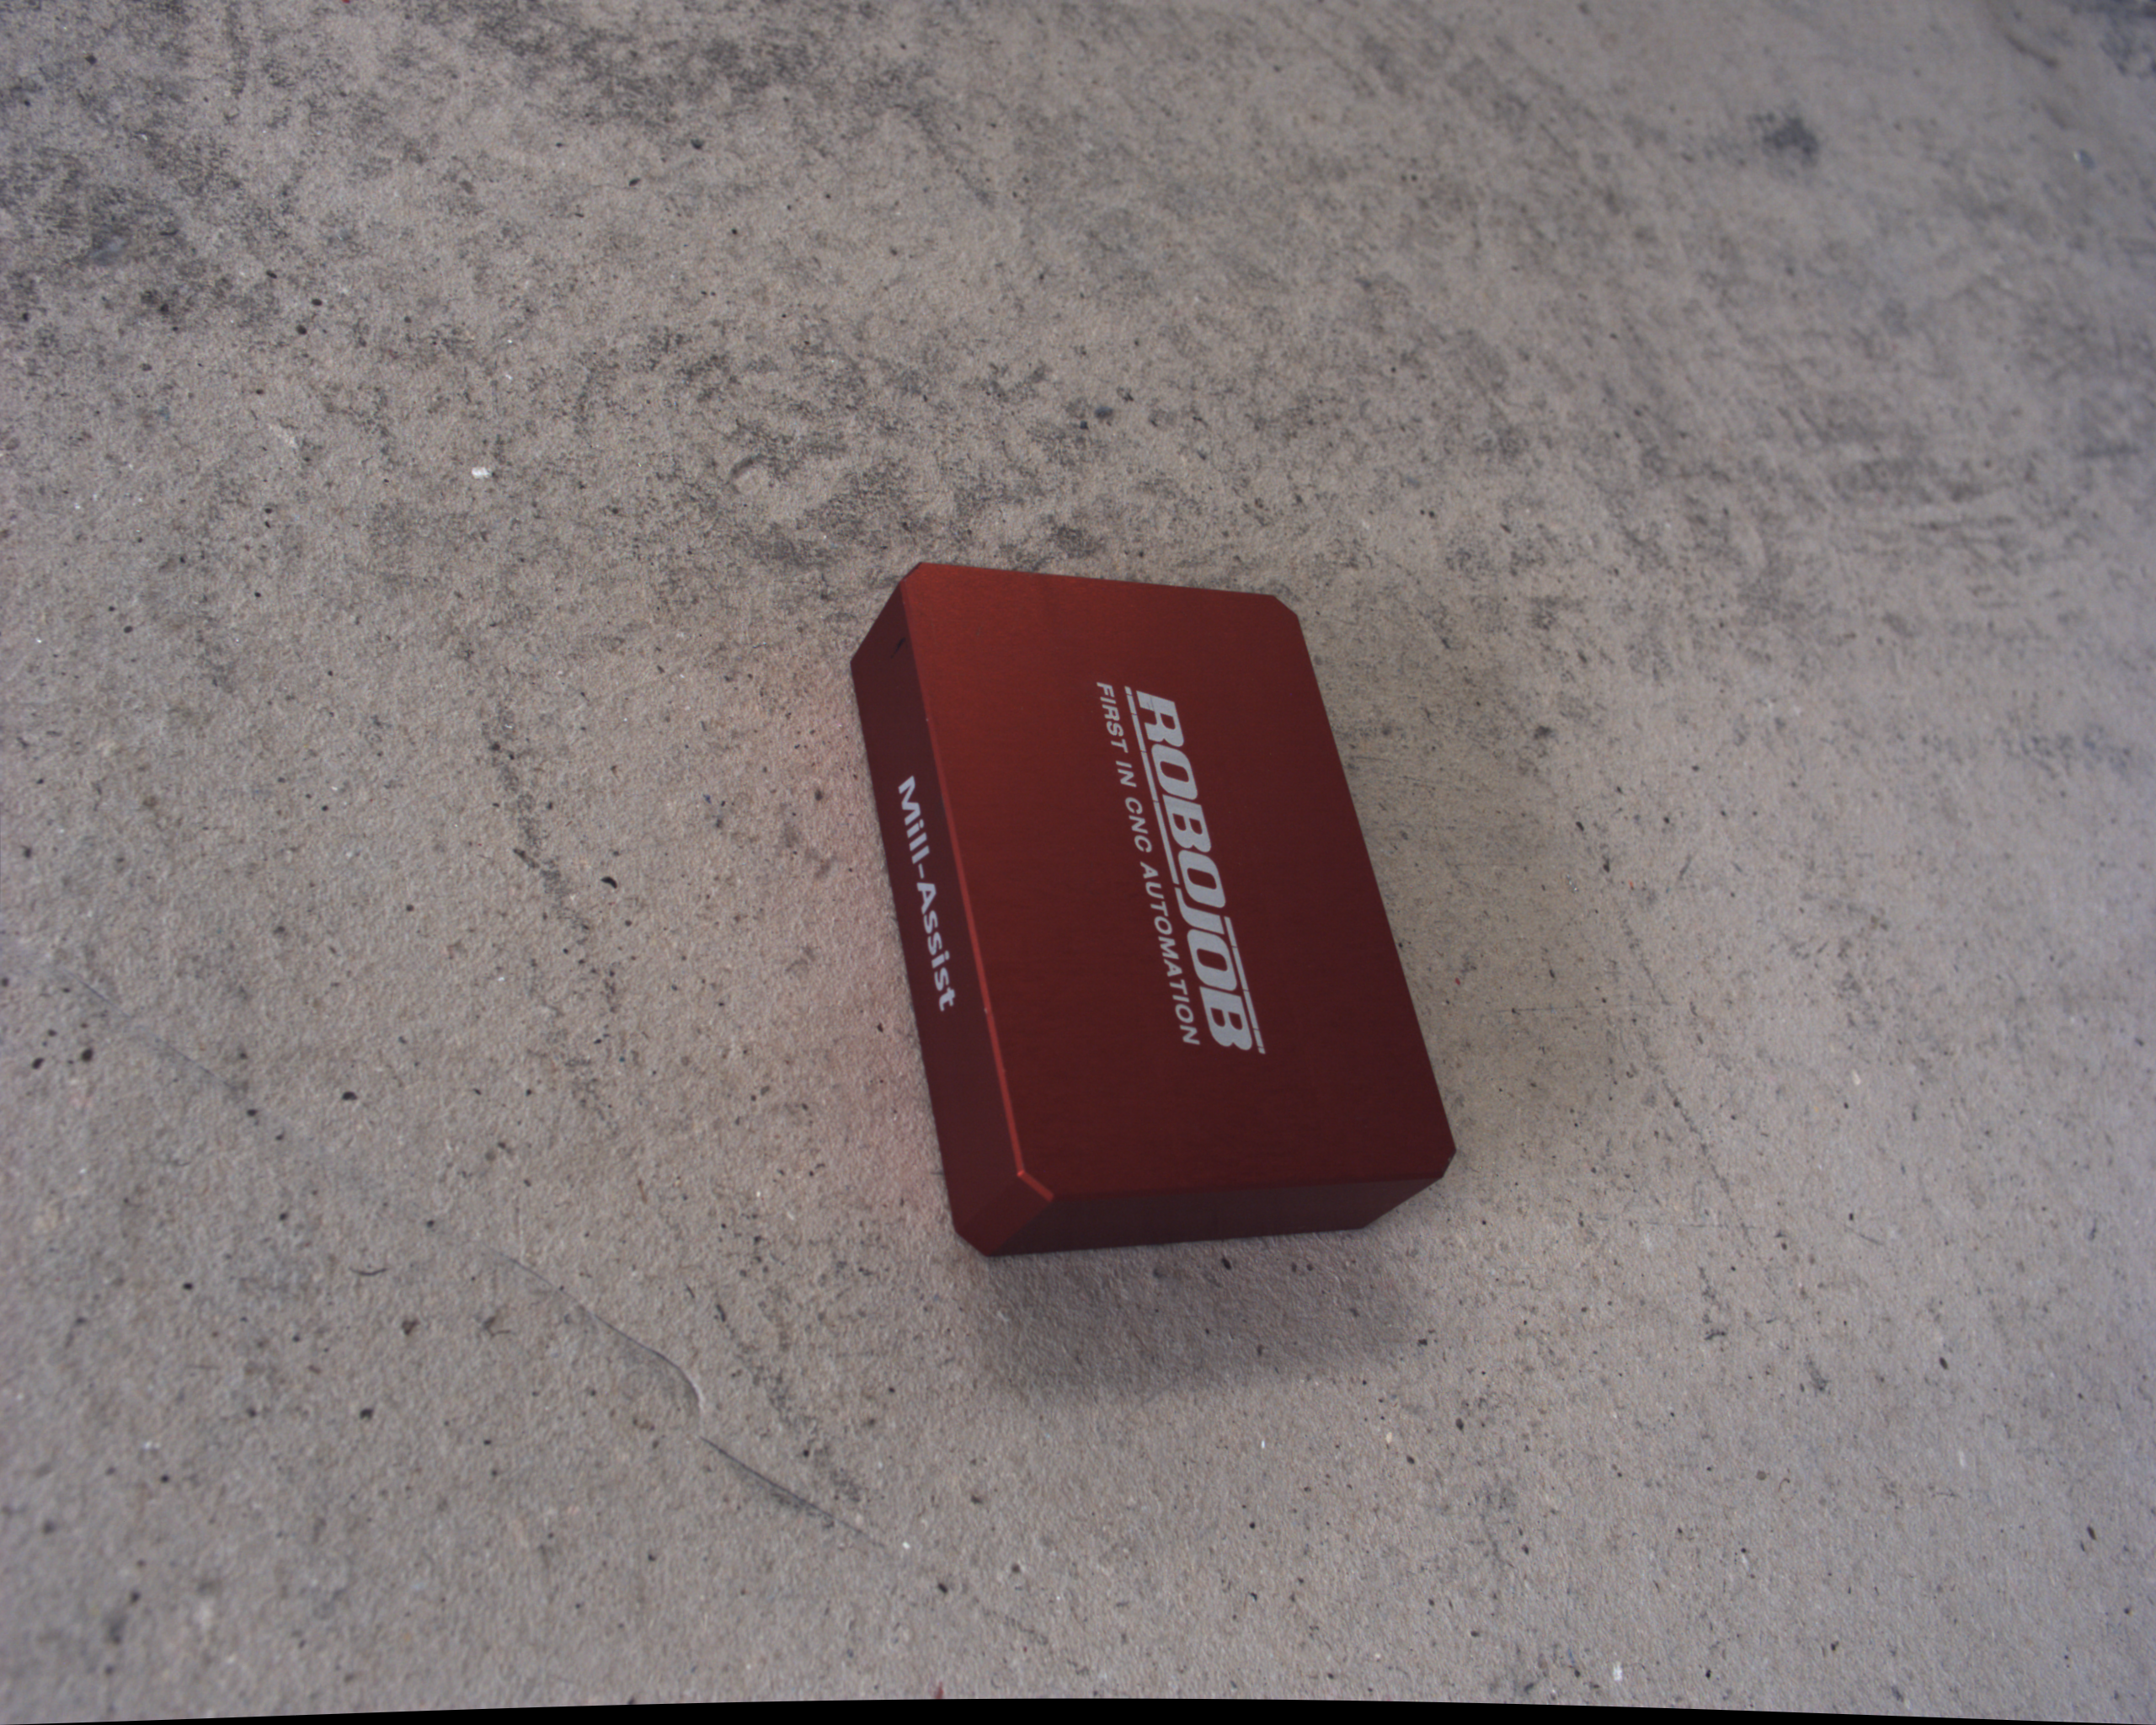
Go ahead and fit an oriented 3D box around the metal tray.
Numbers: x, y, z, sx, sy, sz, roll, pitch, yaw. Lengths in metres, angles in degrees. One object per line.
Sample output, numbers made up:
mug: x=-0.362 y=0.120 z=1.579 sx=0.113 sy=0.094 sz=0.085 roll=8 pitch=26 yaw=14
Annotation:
metal tray: x=0.013 y=0.007 z=0.404 sx=0.091 sy=0.030 sz=0.130 roll=1 pitch=62 yaw=-28
